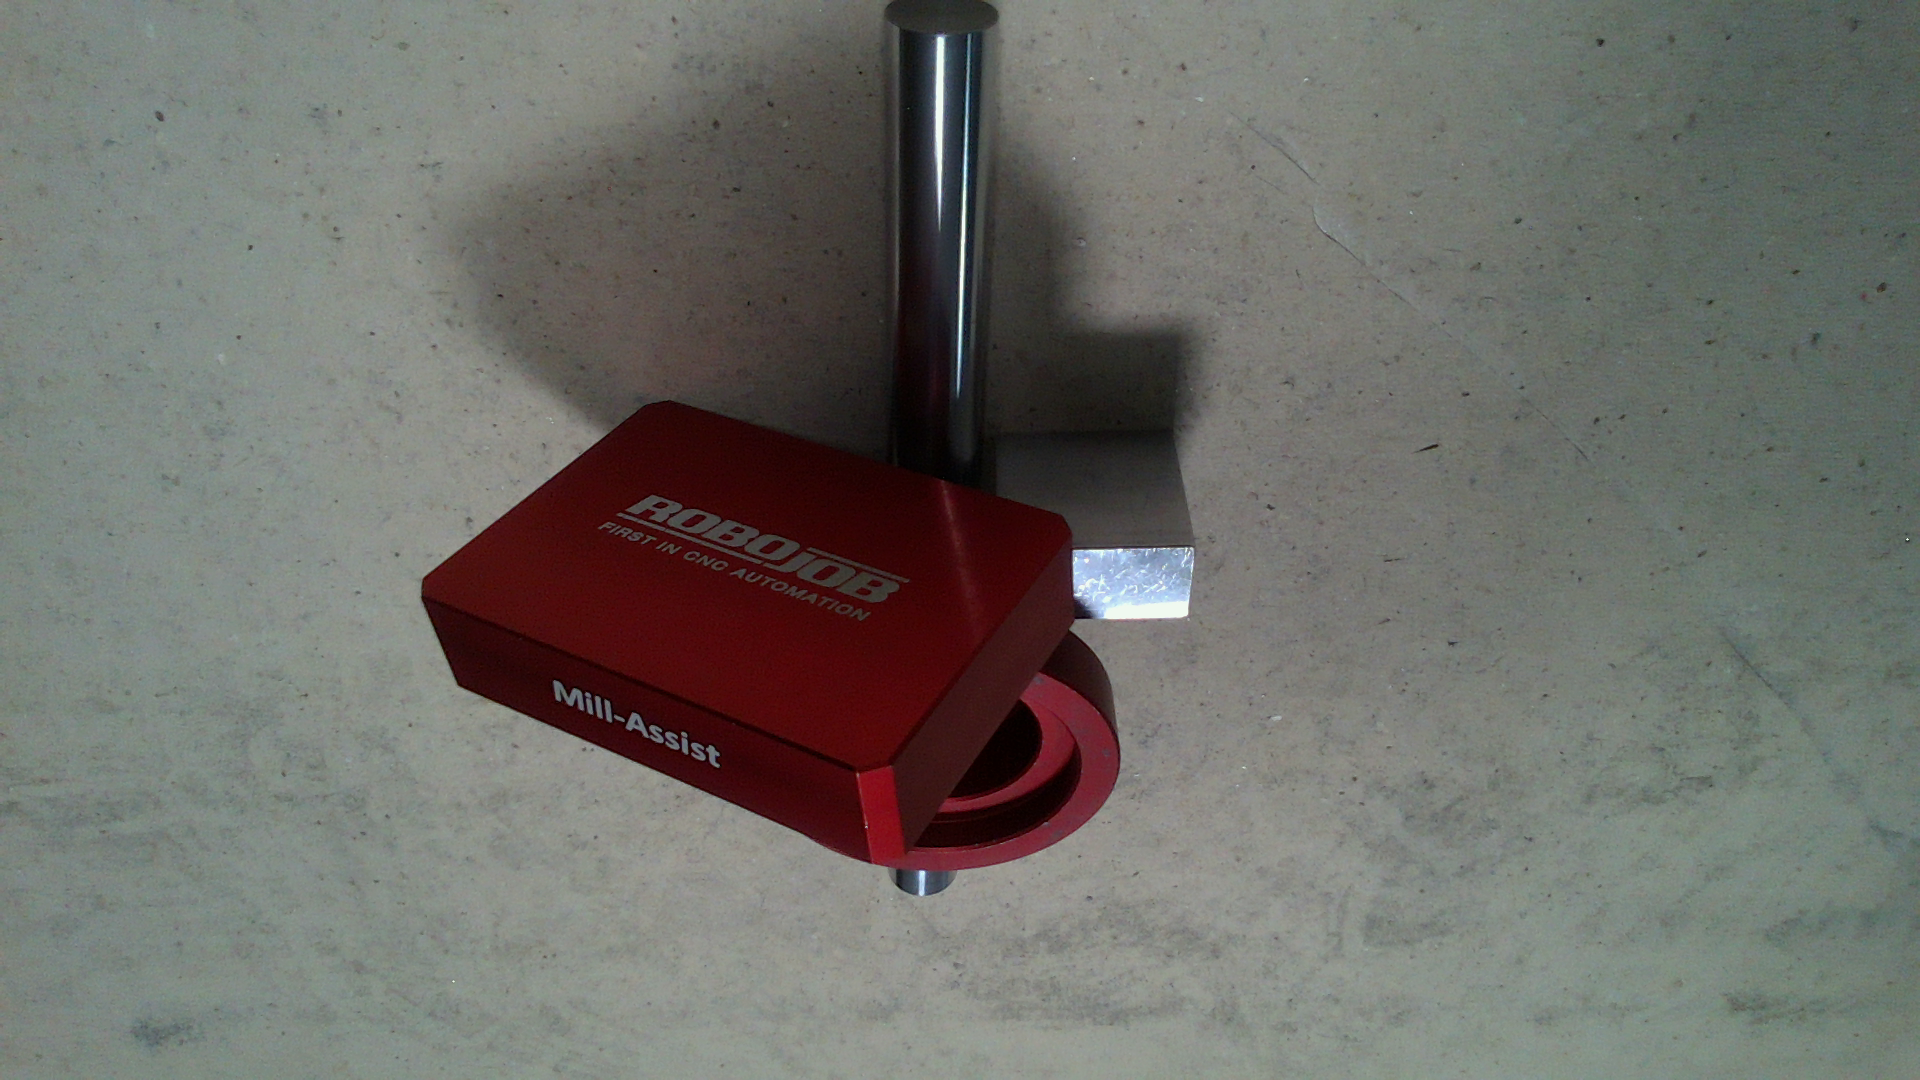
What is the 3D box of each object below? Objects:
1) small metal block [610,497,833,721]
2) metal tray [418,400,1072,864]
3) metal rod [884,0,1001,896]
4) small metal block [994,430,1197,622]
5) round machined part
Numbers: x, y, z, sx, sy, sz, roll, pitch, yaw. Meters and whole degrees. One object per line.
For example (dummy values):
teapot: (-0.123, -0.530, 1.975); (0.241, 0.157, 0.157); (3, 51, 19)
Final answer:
small metal block: (-0.066, 0.019, 0.390); (0.050, 0.050, 0.025); (-15, 129, 12)
metal tray: (-0.050, 0.014, 0.330); (0.130, 0.090, 0.030); (17, 134, 25)
metal rod: (-0.009, 0.001, 0.392); (0.025, 0.025, 0.300); (1, 130, -1)
small metal block: (0.035, -0.004, 0.371); (0.050, 0.050, 0.025); (-1, 130, 1)
round machined part: (-0.006, 0.049, 0.384); (0.098, 0.042, 0.098); (-2, 134, -1)
